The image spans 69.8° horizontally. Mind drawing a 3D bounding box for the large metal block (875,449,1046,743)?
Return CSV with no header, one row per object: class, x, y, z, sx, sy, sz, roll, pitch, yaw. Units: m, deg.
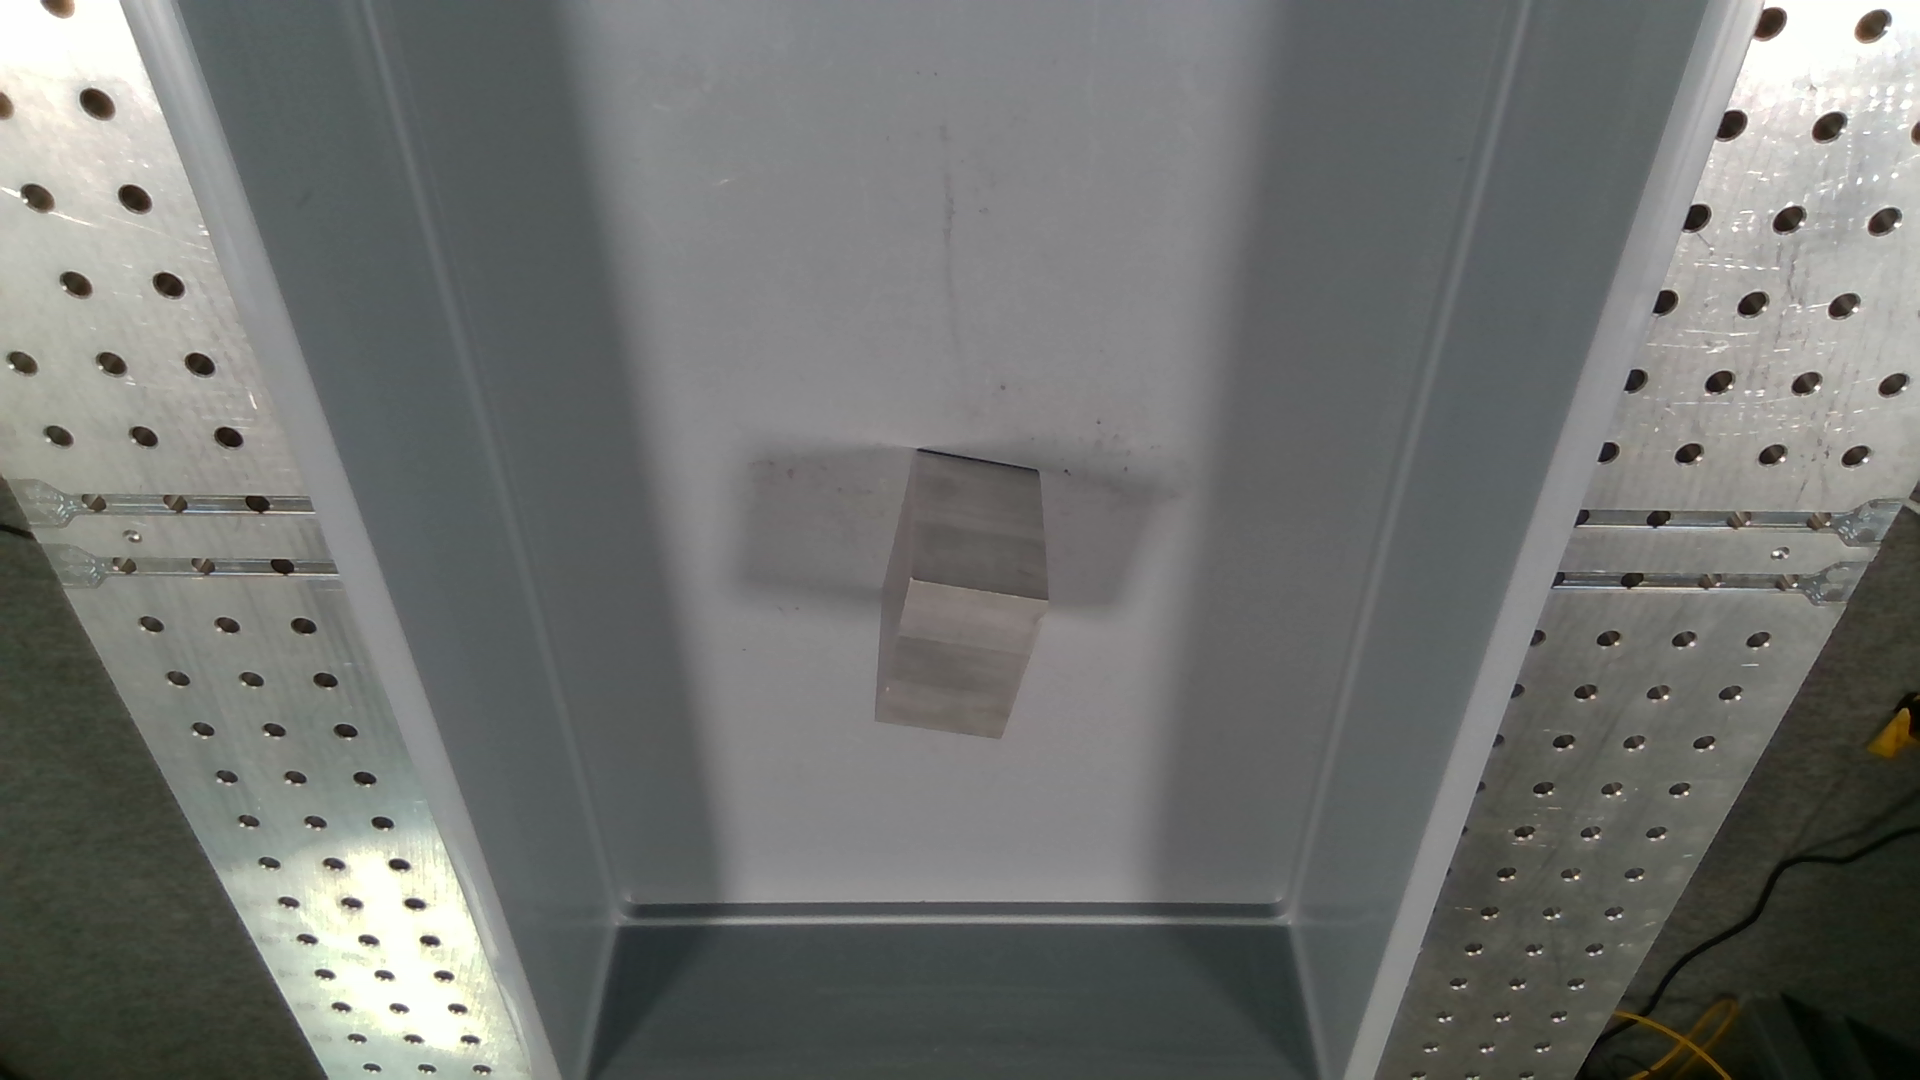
large metal block,-0.001,0.023,0.560,0.050,0.080,0.080,9,129,-8
